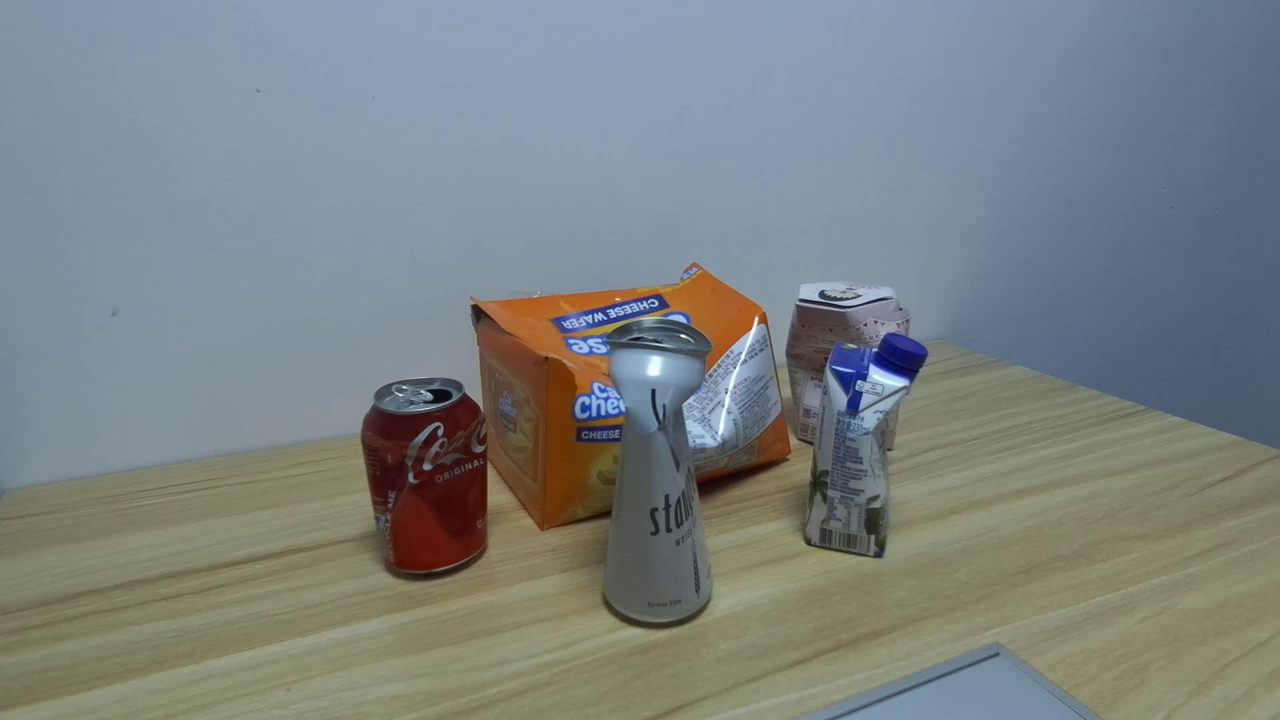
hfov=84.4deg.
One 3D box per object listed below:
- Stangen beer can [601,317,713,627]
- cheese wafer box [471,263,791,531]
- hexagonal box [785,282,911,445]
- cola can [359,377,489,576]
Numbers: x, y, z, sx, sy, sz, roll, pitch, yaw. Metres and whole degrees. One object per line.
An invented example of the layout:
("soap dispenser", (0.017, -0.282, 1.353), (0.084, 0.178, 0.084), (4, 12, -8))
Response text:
("Stangen beer can", (0.010, 0.063, 0.391), (0.066, 0.162, 0.076), (-11, 20, -29))
("cheese wafer box", (0.001, 0.017, 0.564), (0.220, 0.145, 0.190), (-10, 19, -26))
("hexagonal box", (0.178, 0.007, 0.605), (0.090, 0.134, 0.091), (-6, 20, 0))
("cola can", (-0.134, 0.073, 0.446), (0.065, 0.117, 0.066), (6, 18, 23))
